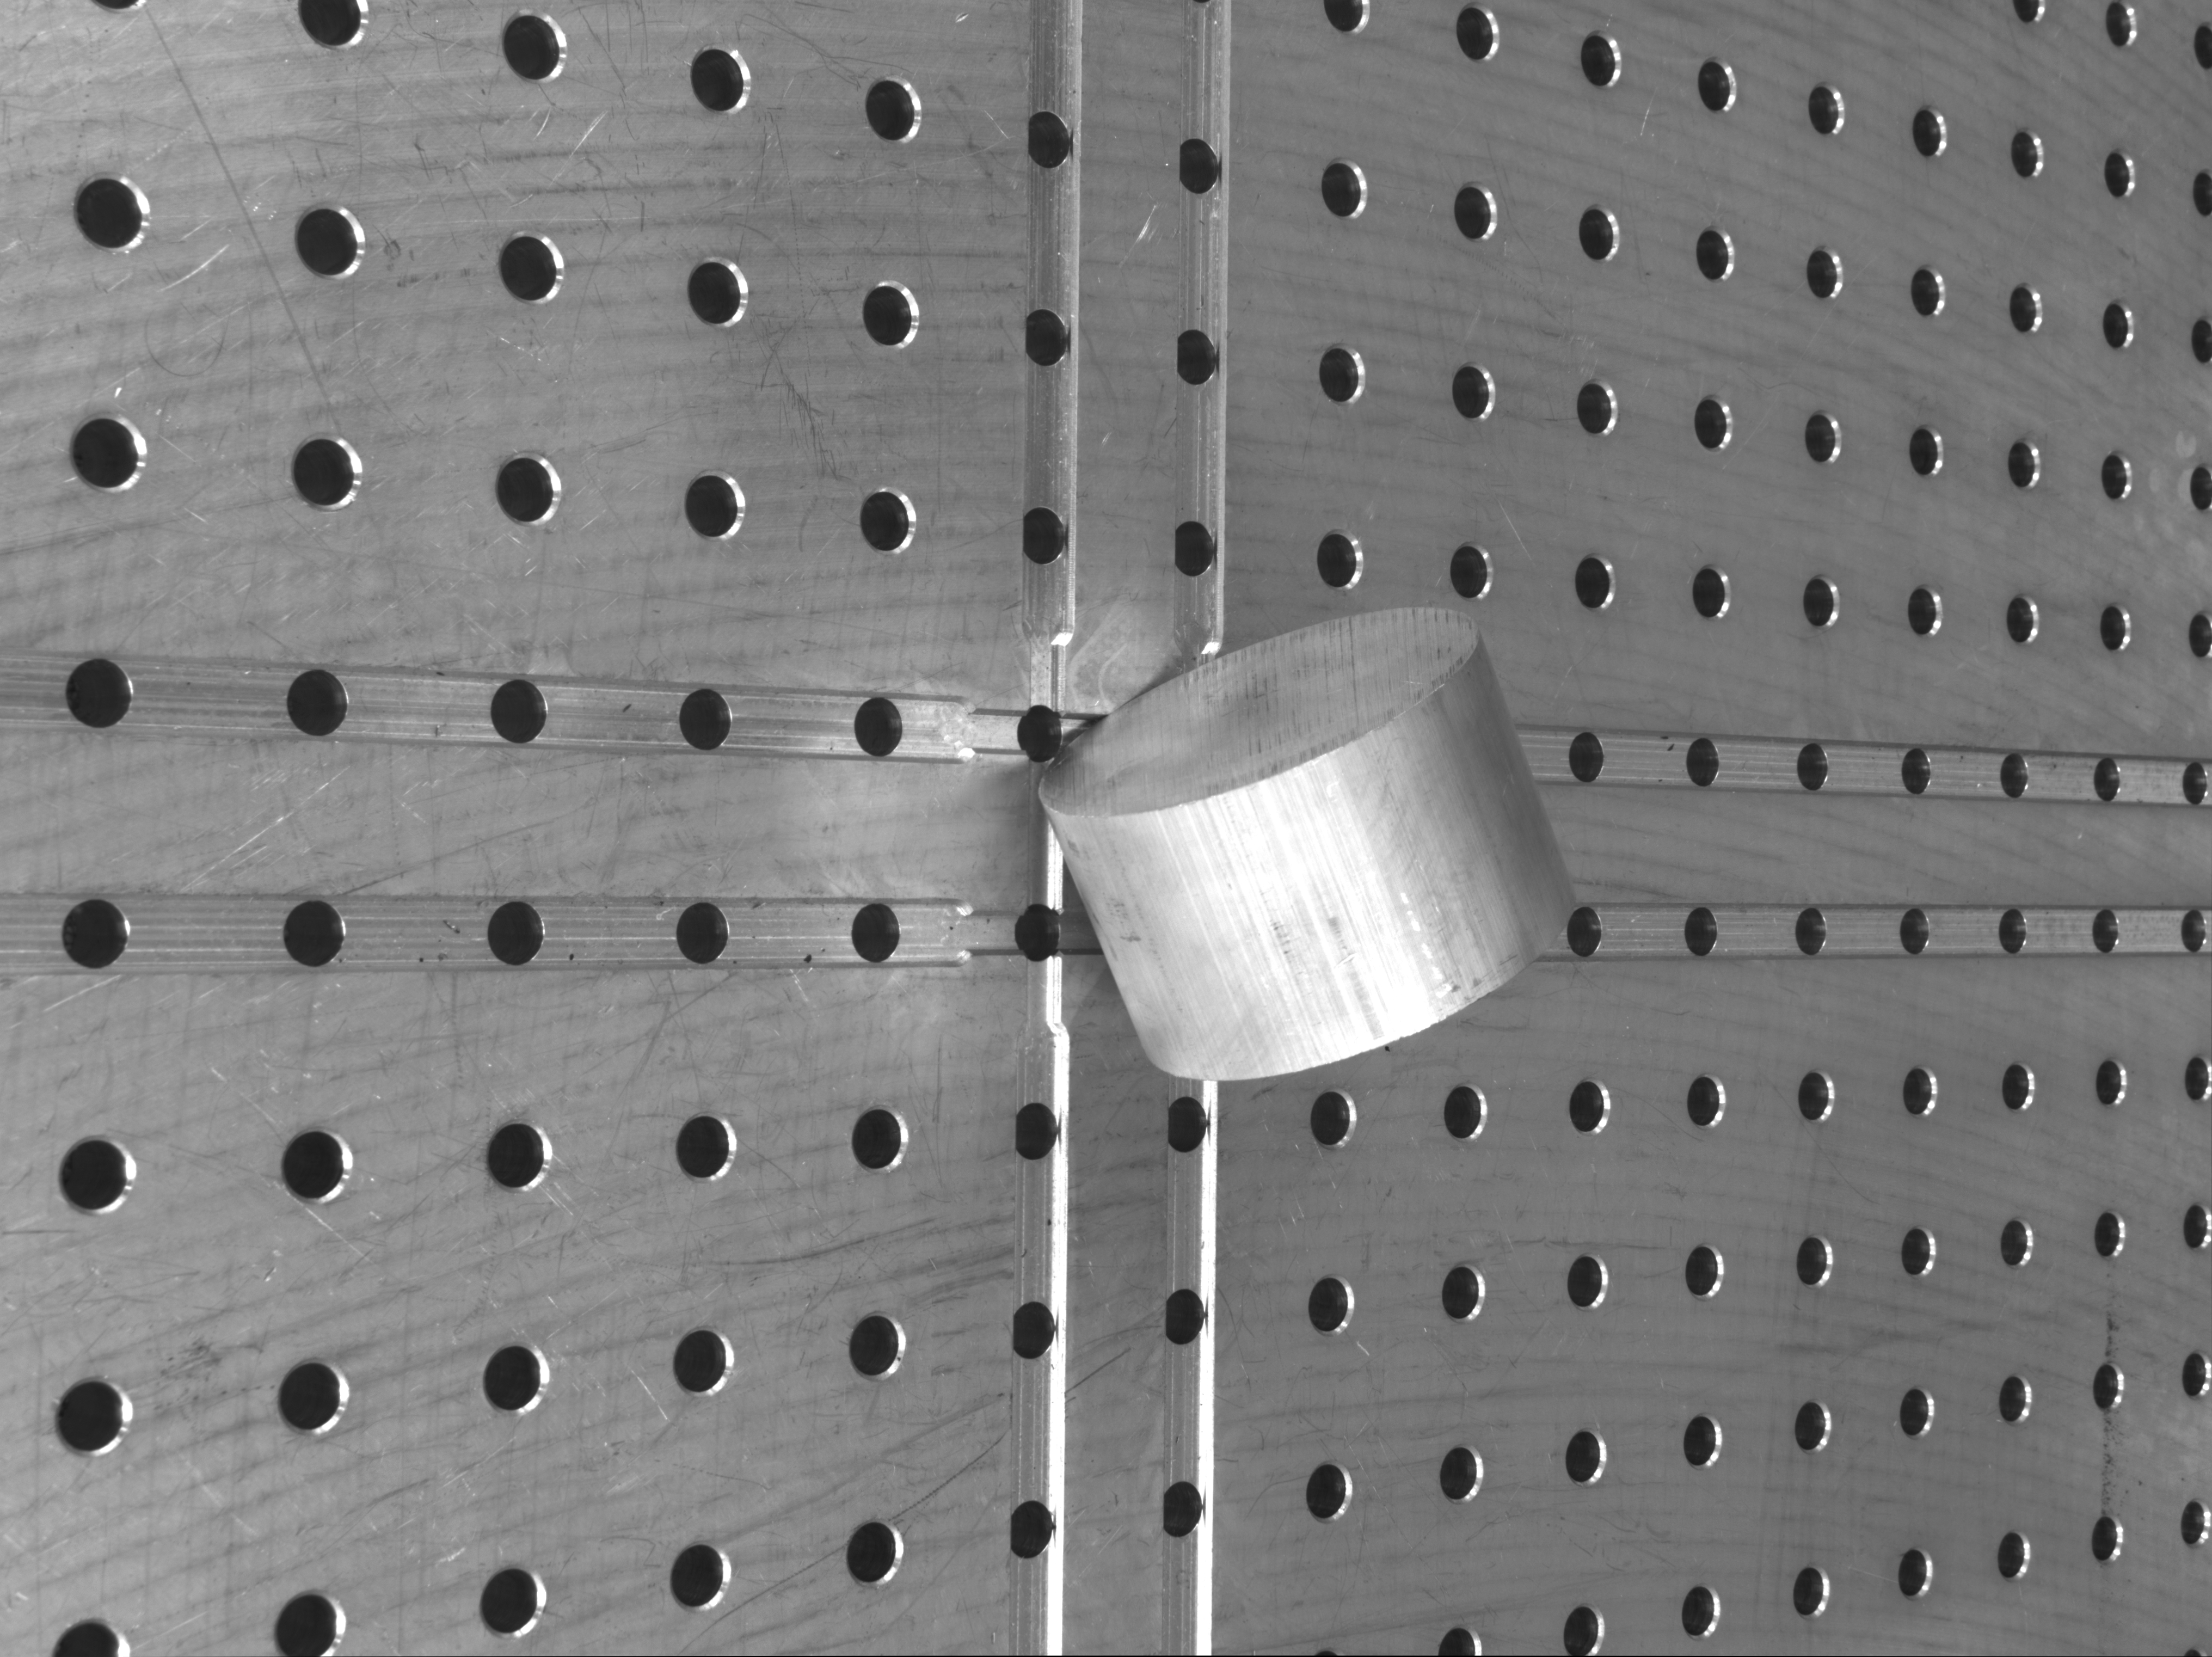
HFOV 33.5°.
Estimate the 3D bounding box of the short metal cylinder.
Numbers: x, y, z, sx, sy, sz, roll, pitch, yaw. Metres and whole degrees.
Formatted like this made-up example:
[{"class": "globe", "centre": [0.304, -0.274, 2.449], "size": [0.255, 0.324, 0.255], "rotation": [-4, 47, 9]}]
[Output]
[{"class": "short metal cylinder", "centre": [0.035, 0.002, 0.632], "size": [0.080, 0.080, 0.050], "rotation": [-35, 110, -34]}]
